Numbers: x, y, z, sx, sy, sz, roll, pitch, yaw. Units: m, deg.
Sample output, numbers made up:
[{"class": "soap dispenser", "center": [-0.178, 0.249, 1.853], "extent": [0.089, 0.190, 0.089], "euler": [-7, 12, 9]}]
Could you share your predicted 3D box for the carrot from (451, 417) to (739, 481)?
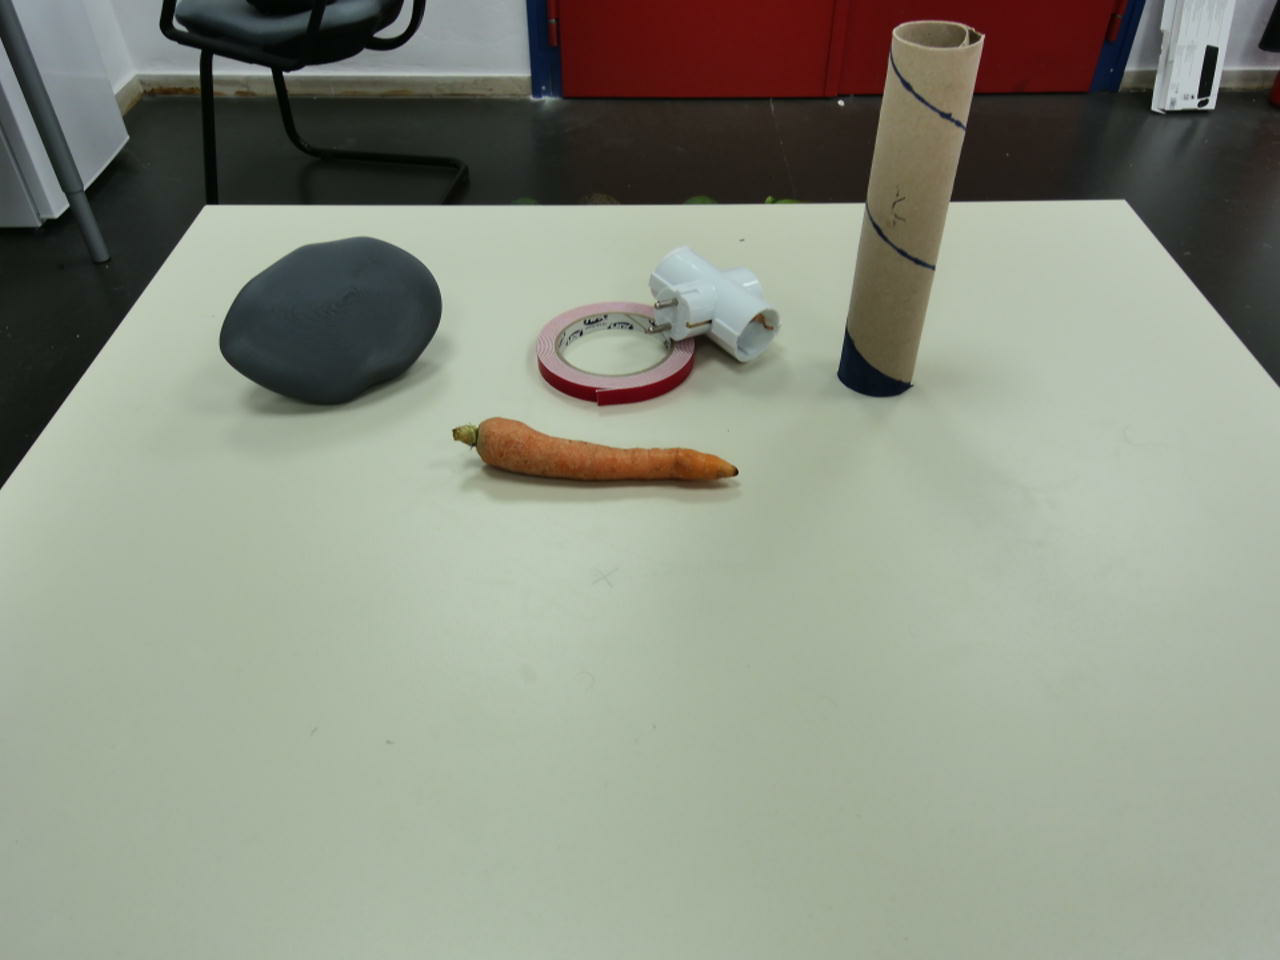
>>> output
[{"class": "carrot", "center": [-0.027, -0.015, 0.598], "extent": [0.173, 0.032, 0.030], "euler": [6, 40, 7]}]
